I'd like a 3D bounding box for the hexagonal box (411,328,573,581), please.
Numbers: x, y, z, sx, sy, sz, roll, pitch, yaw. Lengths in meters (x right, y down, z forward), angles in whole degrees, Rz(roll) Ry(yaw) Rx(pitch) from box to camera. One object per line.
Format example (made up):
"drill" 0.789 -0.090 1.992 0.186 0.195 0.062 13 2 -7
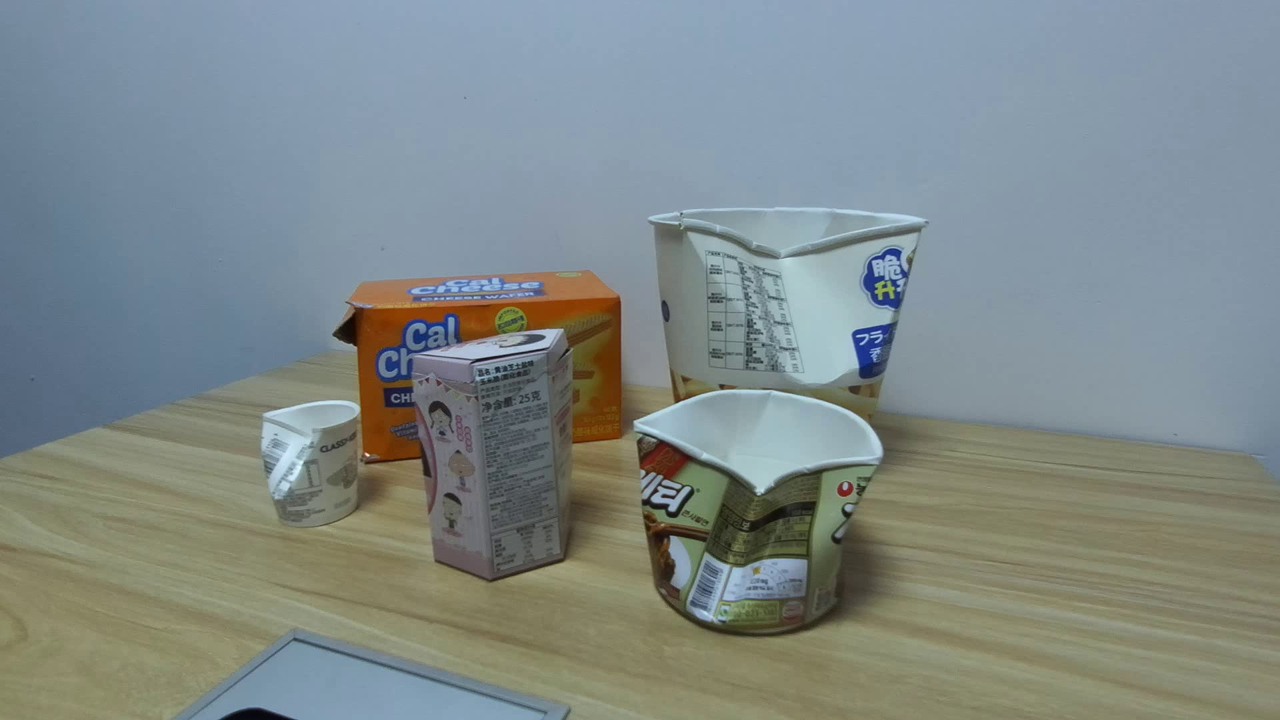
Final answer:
"hexagonal box" -0.085 0.053 0.435 0.085 0.135 0.092 0 17 3

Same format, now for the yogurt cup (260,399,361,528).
"yogurt cup" -0.224 0.071 0.489 0.067 0.070 0.067 -1 15 0

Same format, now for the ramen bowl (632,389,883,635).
"ramen bowl" 0.070 0.080 0.407 0.137 0.098 0.137 3 17 -1

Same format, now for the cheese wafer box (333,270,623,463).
"cheese wafer box" -0.137 -0.005 0.644 0.227 0.137 0.149 -4 16 -12

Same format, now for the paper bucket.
"paper bucket" 0.096 -0.013 0.546 0.163 0.202 0.168 -13 18 -33
